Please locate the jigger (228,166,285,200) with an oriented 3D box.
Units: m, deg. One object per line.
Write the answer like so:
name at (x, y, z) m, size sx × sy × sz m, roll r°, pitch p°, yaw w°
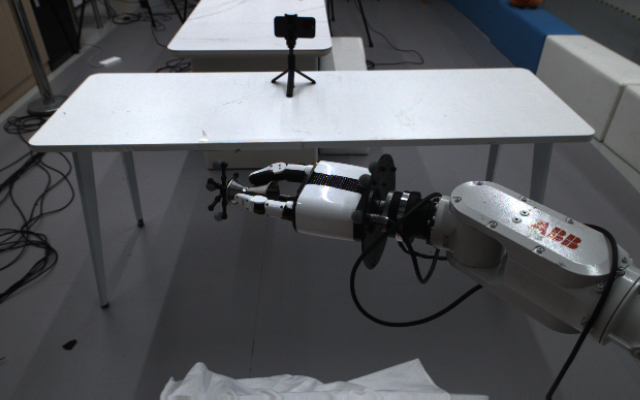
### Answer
jigger at (-0.094, -0.012, 0.726) m, size 0.071 × 0.043 × 0.043 m, roll 5°, pitch 34°, yaw 21°
